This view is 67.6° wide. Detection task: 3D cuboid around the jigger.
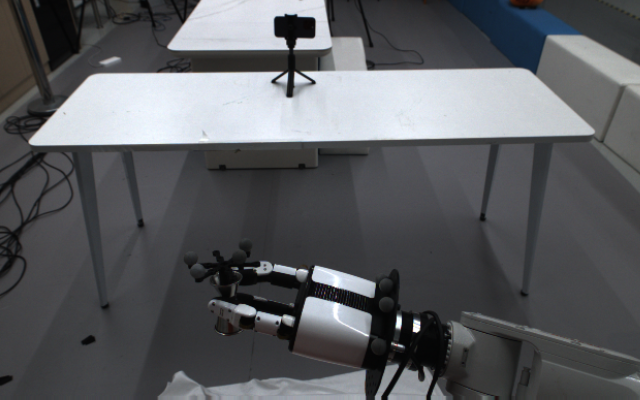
[{"bbox_3d":[-0.112,0.127,0.602,0.043,0.071,0.043,-2,19,1],"label":"jigger"}]
